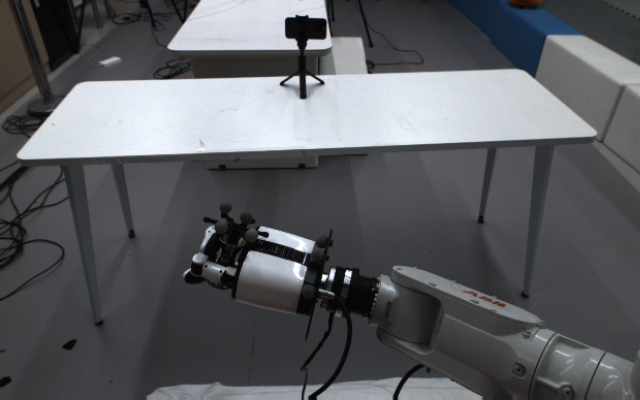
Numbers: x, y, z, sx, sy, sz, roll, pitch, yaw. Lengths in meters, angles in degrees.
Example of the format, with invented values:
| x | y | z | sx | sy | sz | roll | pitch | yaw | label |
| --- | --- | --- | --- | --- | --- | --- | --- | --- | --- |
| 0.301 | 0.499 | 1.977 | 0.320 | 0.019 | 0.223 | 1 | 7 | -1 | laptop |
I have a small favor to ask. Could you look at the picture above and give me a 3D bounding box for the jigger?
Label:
| x | y | z | sx | sy | sz | roll | pitch | yaw | label |
| --- | --- | --- | --- | --- | --- | --- | --- | --- | --- |
| -0.126 | 0.083 | 0.664 | 0.043 | 0.071 | 0.043 | 18 | 17 | -6 | jigger |
